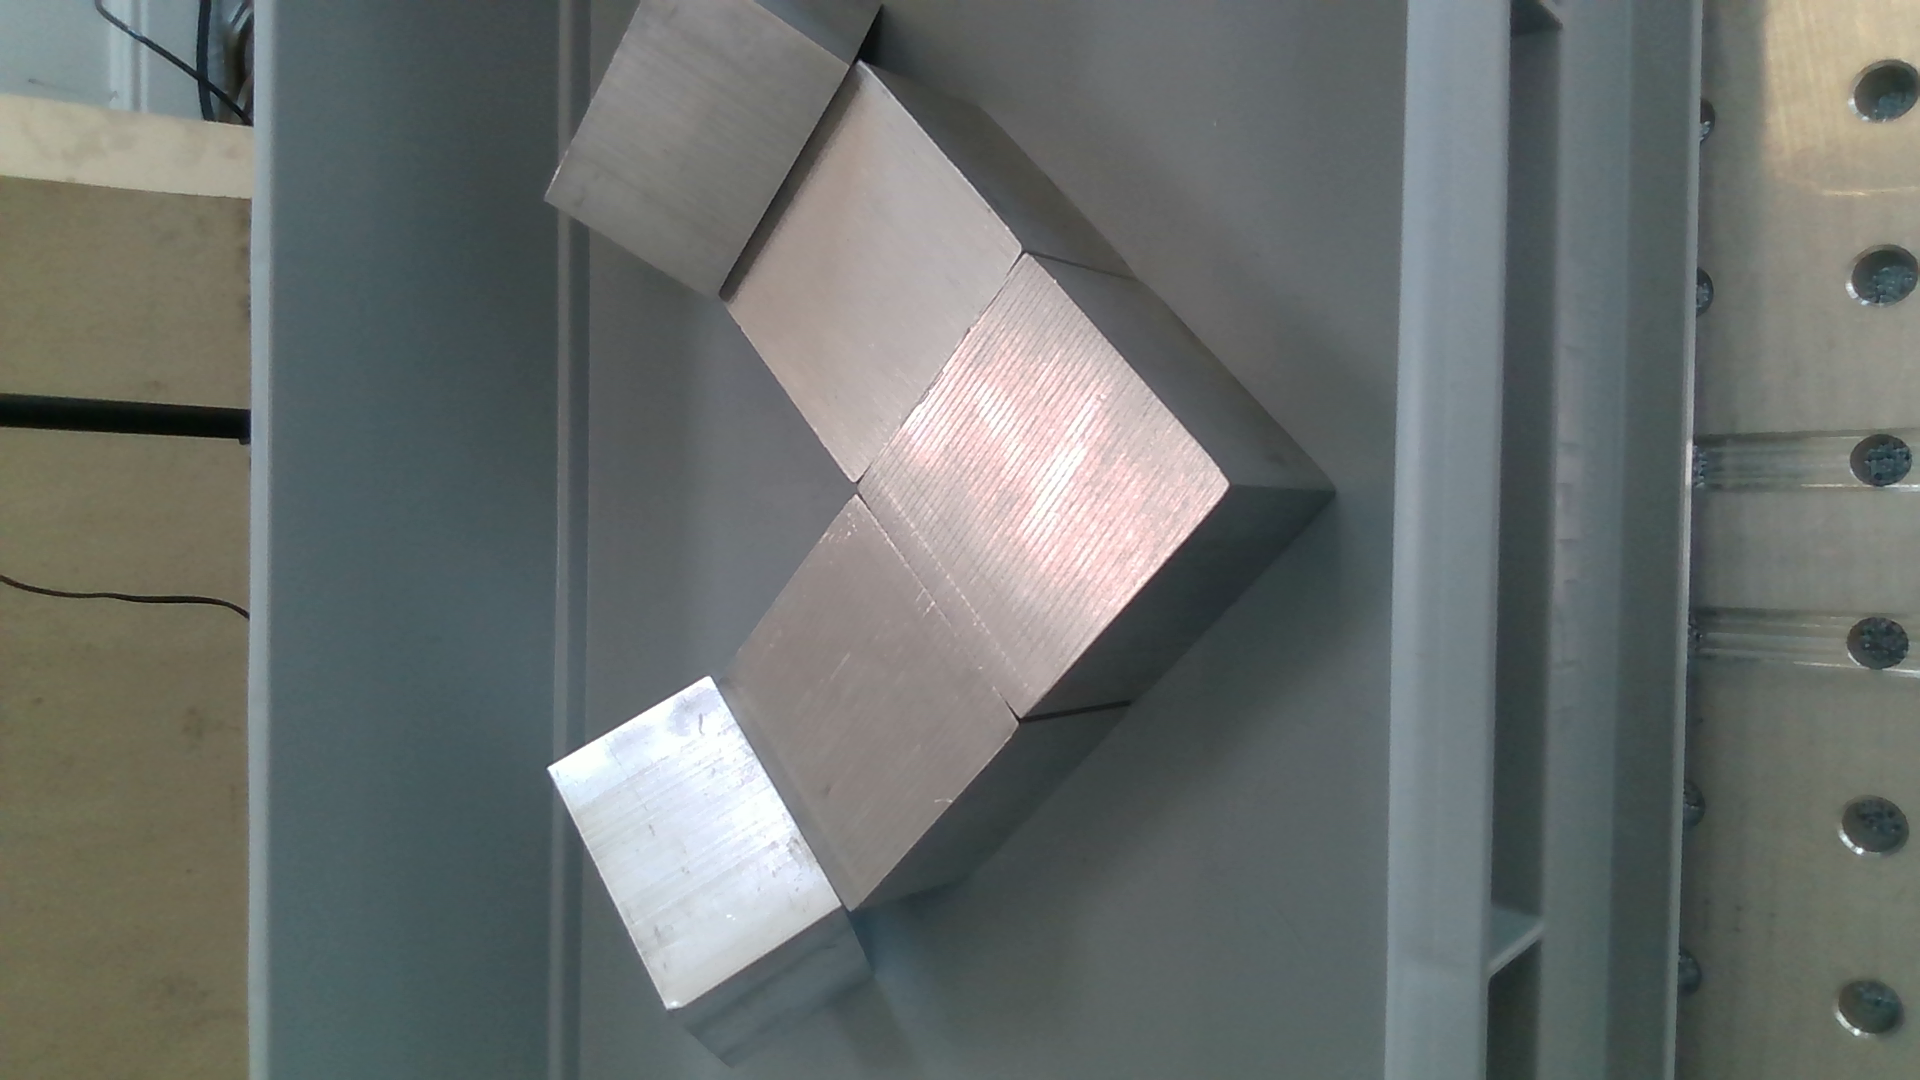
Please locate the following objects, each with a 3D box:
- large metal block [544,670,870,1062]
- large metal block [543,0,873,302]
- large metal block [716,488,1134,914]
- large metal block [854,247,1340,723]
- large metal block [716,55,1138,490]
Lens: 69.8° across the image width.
[{"bbox_3d":[-0.072,0.098,0.407,0.080,0.050,0.080,54,165,26],"label":"large metal block"},{"bbox_3d":[-0.071,-0.129,0.403,0.080,0.050,0.080,-52,17,28],"label":"large metal block"},{"bbox_3d":[-0.013,0.043,0.384,0.080,0.050,0.080,-52,60,28],"label":"large metal block"},{"bbox_3d":[0.031,-0.013,0.346,0.080,0.050,0.080,-52,60,28],"label":"large metal block"},{"bbox_3d":[-0.012,-0.071,0.382,0.080,0.050,0.080,-52,60,28],"label":"large metal block"}]
